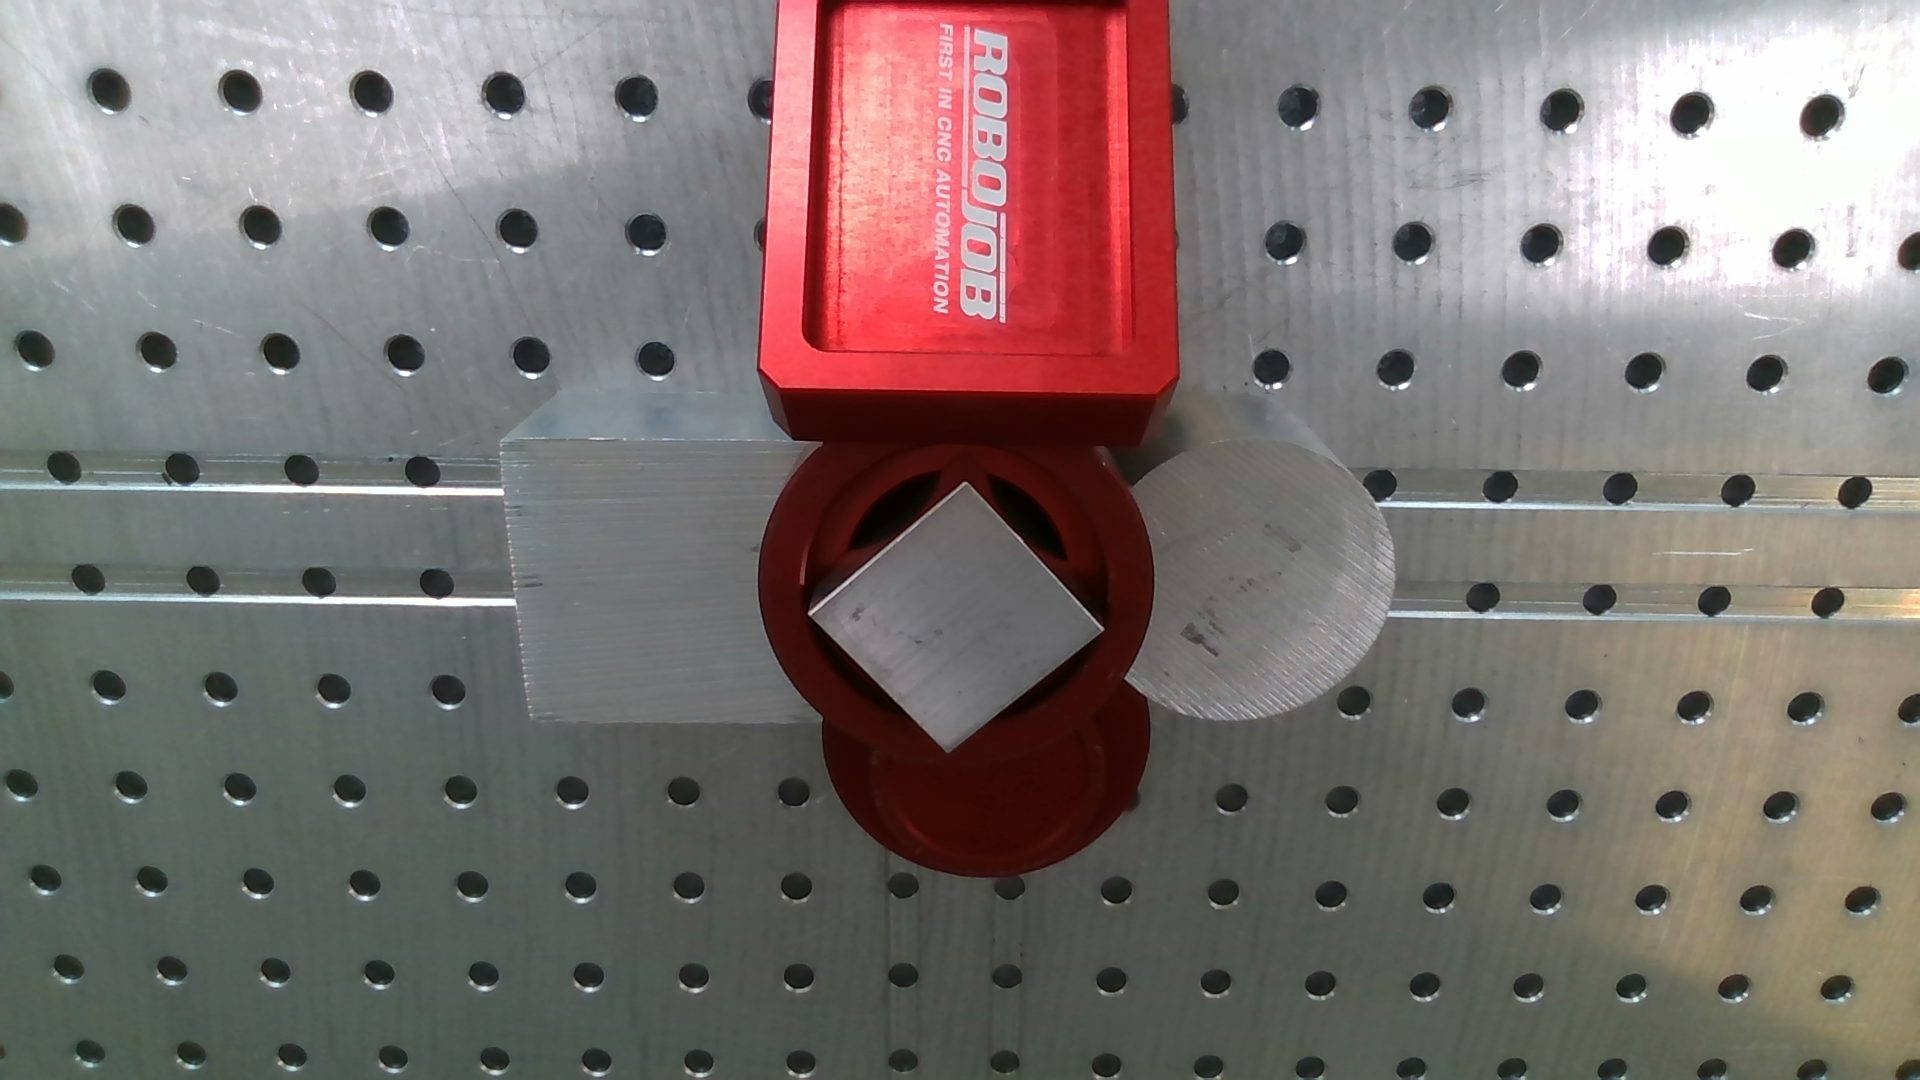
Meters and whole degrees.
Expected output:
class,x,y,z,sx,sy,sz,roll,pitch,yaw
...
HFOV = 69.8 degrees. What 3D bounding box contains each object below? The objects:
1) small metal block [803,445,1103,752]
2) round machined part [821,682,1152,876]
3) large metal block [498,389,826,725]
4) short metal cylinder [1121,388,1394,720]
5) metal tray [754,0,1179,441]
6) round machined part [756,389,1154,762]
class,x,y,z,sx,sy,sz,roll,pitch,yaw
small metal block,-0.001,0.014,0.336,0.050,0.025,0.050,-40,105,13
round machined part,0.008,0.059,0.407,0.098,0.042,0.098,0,110,0
large metal block,-0.076,0.003,0.381,0.080,0.050,0.080,1,110,0
short metal cylinder,0.073,0.003,0.383,0.080,0.050,0.080,0,110,0
metal tray,0.002,-0.090,0.322,0.090,0.030,0.130,1,73,0
round machined part,-0.001,0.005,0.358,0.098,0.042,0.098,0,110,0
